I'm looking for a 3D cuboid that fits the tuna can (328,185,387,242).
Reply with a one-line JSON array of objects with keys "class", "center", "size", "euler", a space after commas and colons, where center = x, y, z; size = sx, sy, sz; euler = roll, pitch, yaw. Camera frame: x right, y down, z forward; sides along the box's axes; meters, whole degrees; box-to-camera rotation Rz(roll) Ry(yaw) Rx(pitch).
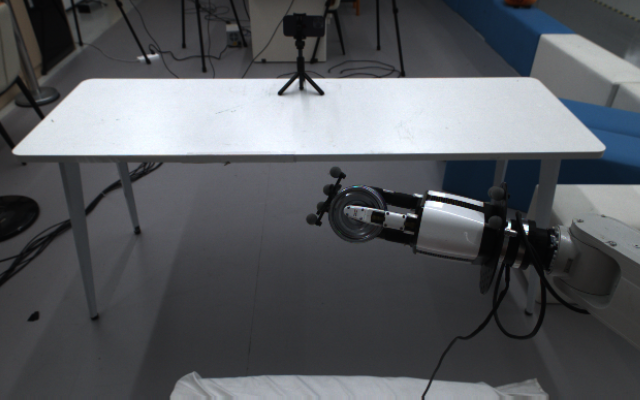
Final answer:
[{"class": "tuna can", "center": [0.058, 0.019, 0.716], "size": [0.085, 0.085, 0.034], "euler": [9, 4, 10]}]
